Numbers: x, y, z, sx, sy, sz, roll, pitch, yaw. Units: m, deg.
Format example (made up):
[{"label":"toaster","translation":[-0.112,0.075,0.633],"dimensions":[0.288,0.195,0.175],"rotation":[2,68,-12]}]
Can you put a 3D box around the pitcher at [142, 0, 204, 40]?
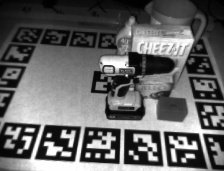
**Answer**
[{"label":"pitcher","translation":[0.184,-0.167,0.714],"dimensions":[0.188,0.244,0.133],"rotation":[7,52,6]}]

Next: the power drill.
[{"label":"power drill","translation":[0.056,-0.014,0.574],"dimensions":[0.185,0.188,0.057],"rotation":[2,48,-1]}]

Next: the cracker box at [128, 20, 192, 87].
[{"label":"cracker box","translation":[0.131,-0.087,0.654],"dimensions":[0.164,0.215,0.071],"rotation":[0,50,1]}]

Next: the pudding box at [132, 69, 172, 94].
[{"label":"pudding box","translation":[0.120,-0.016,0.667],"dimensions":[0.114,0.090,0.038],"rotation":[2,50,3]}]

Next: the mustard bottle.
[{"label":"mustard bottle","translation":[0.051,-0.167,0.721],"dimensions":[0.096,0.192,0.058],"rotation":[13,54,9]}]

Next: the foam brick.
[{"label":"foam brick","translation":[0.173,0.058,0.654],"dimensions":[0.078,0.051,0.052],"rotation":[5,54,1]}]
